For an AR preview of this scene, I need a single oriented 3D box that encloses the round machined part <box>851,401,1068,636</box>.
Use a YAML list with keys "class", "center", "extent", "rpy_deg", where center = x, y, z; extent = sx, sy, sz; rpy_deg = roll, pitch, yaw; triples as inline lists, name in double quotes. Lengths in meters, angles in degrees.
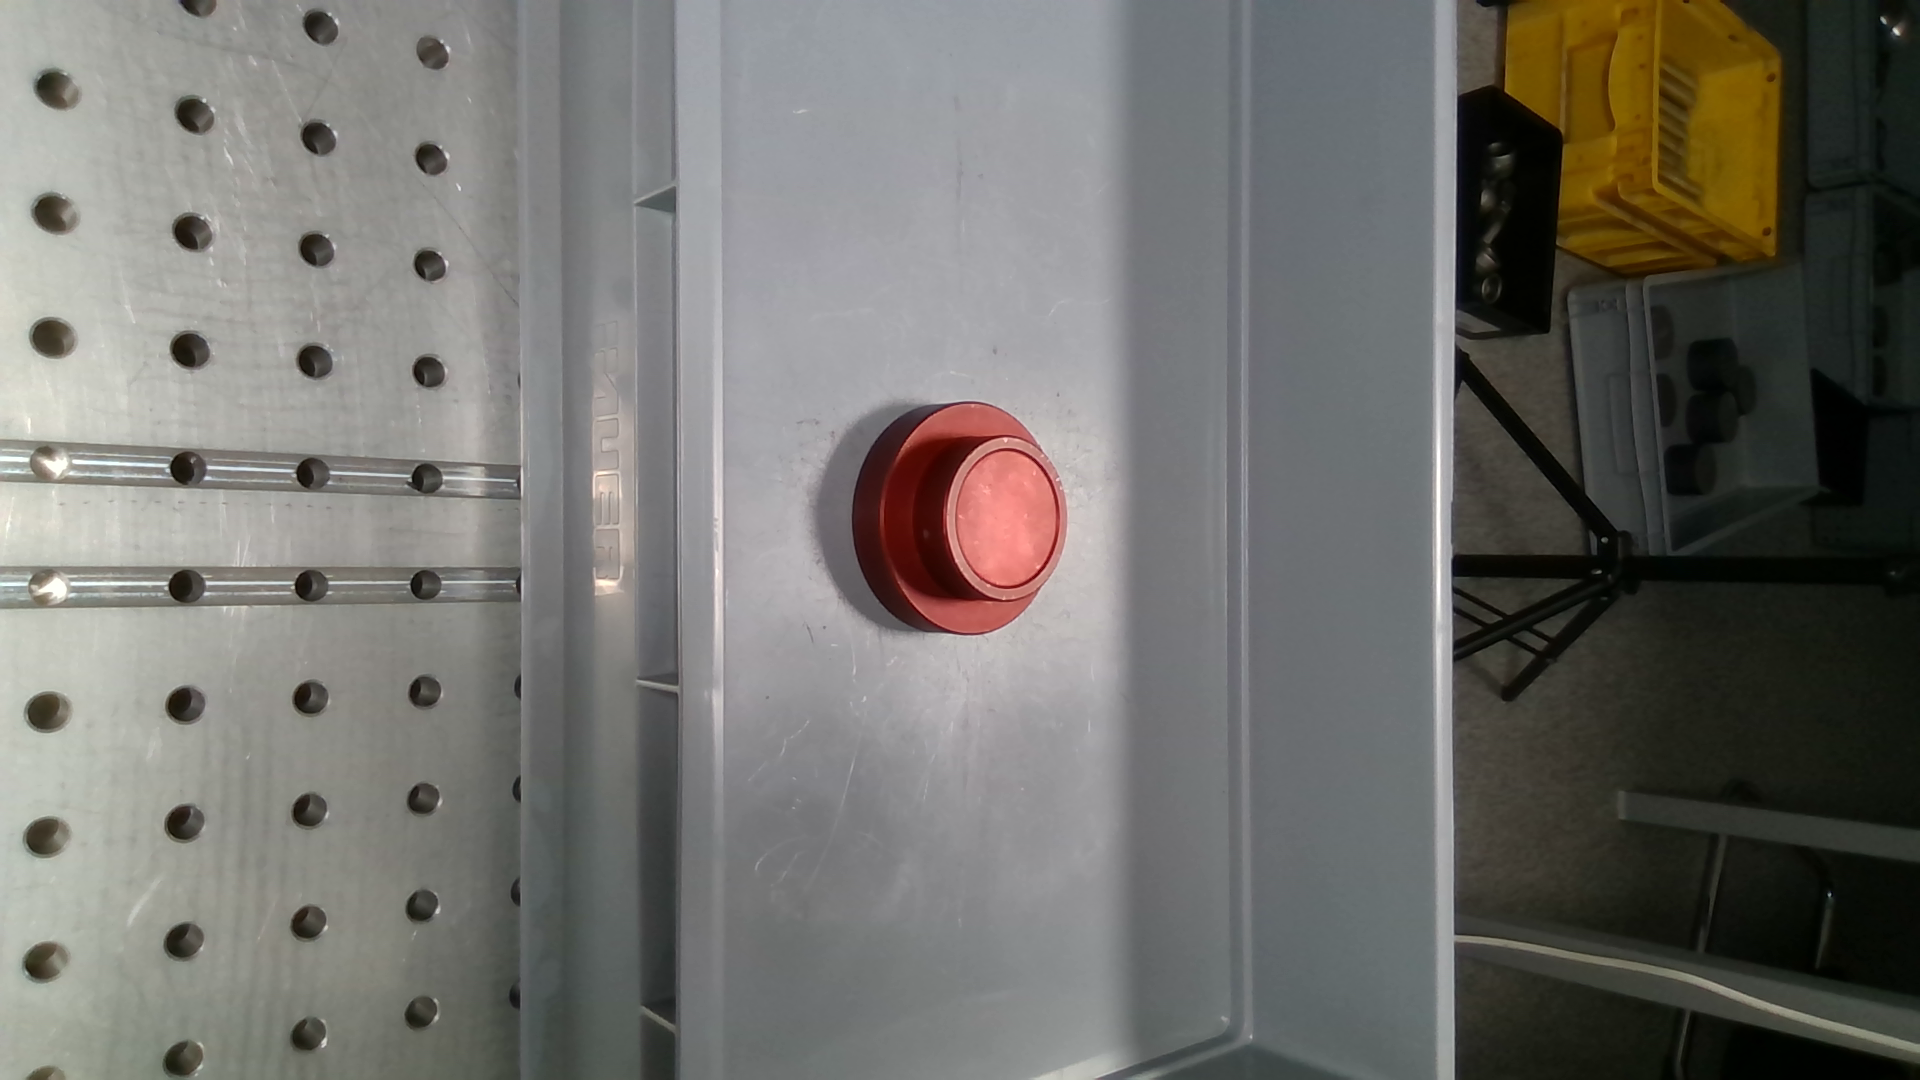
- class: "round machined part"
  center: [0.006, -0.009, 0.573]
  extent: [0.098, 0.042, 0.098]
  rpy_deg: [0, 90, -40]
